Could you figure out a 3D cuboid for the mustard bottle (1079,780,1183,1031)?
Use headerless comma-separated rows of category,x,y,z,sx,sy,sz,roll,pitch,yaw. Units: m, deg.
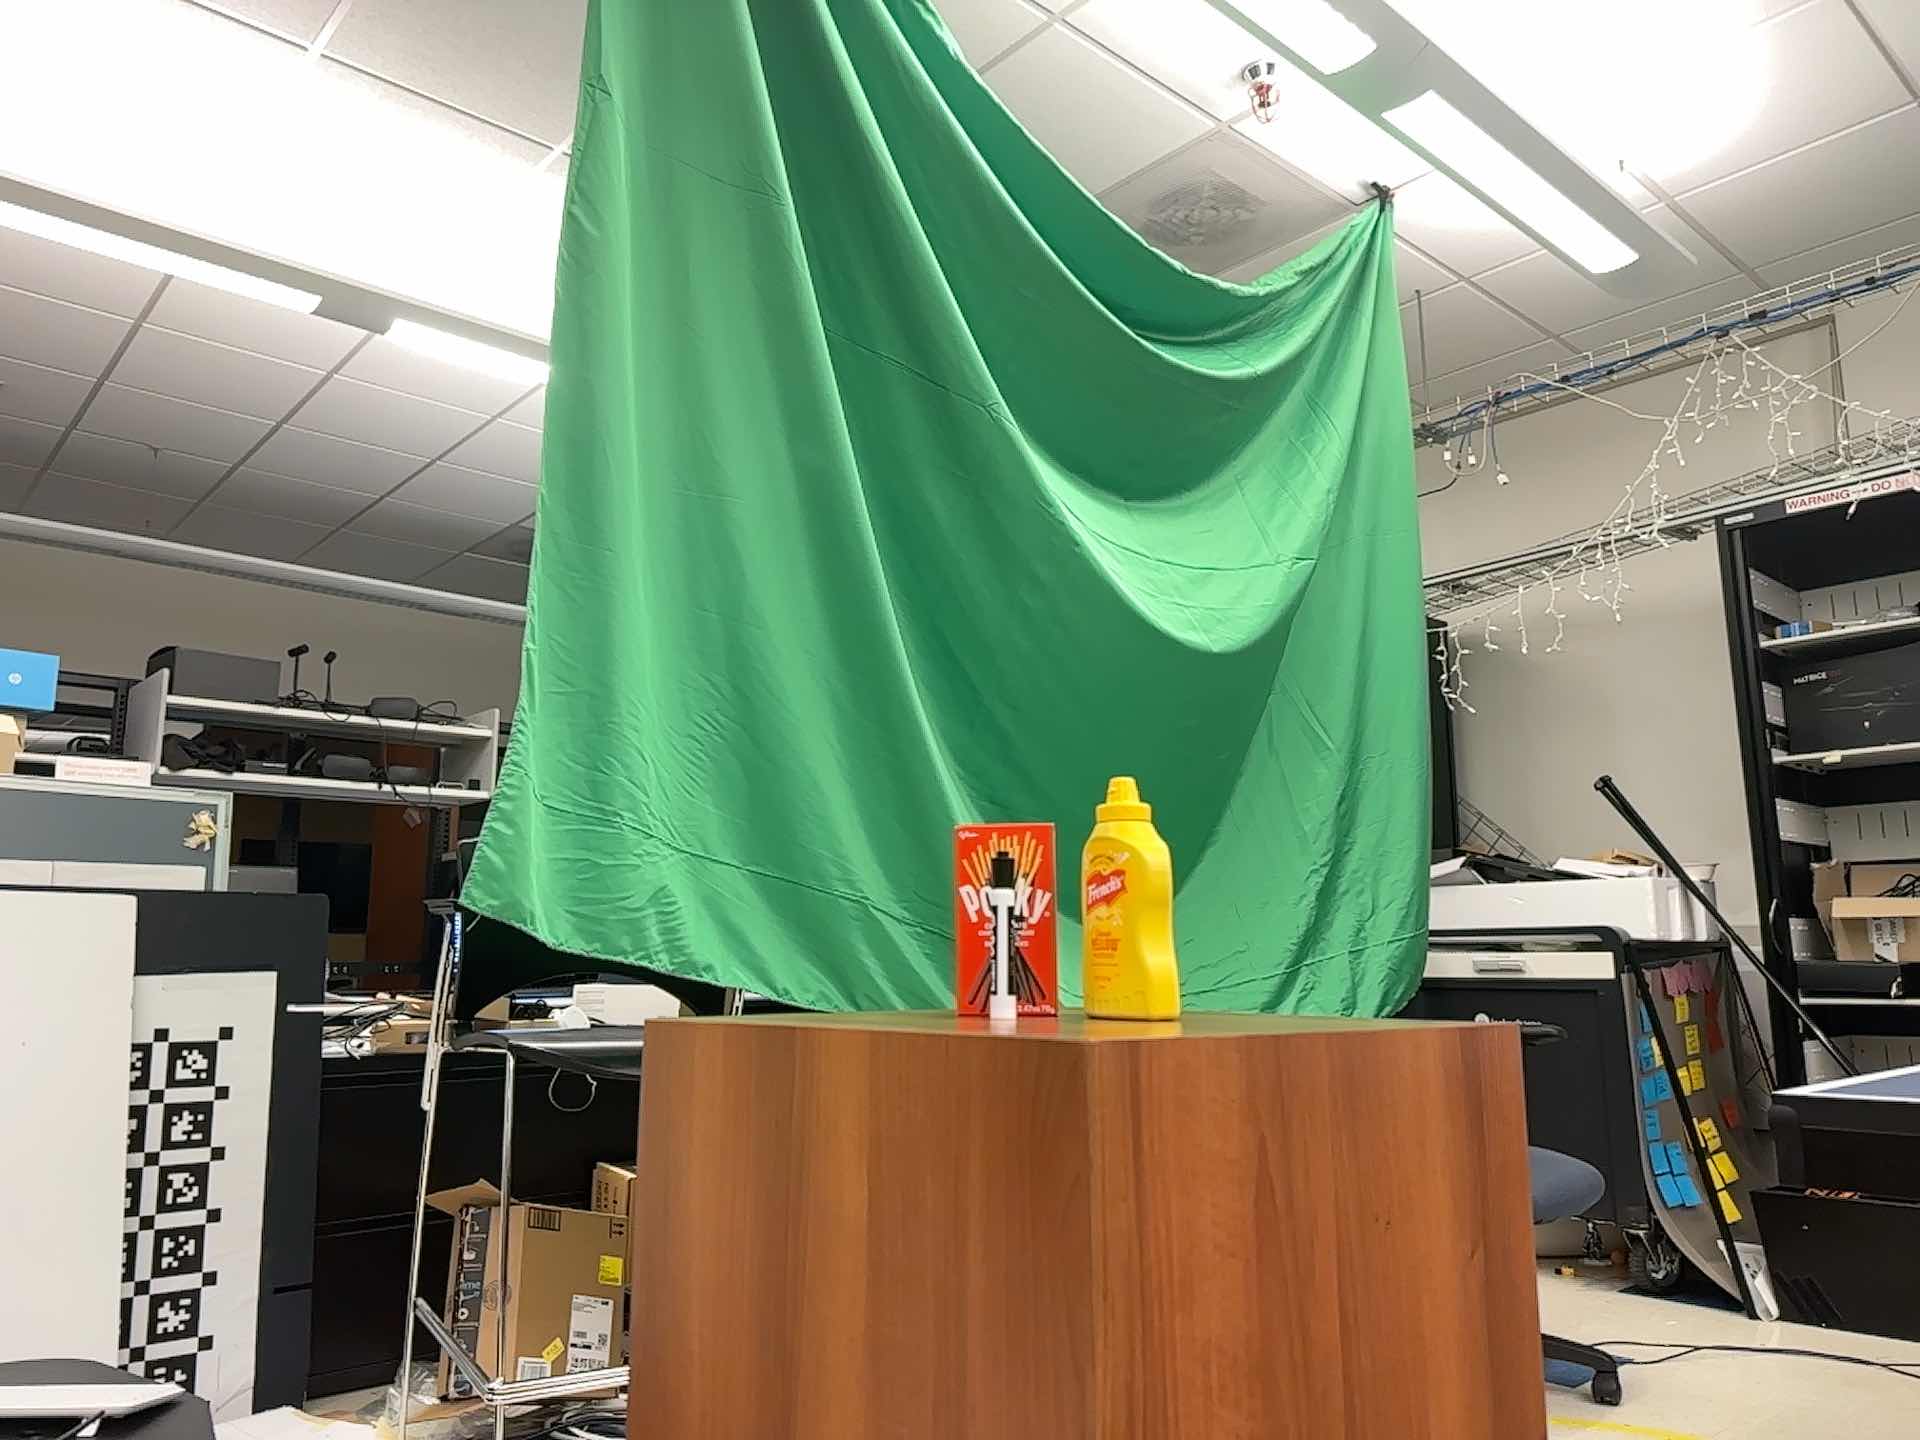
mustard bottle,0.124,0.136,1.007,0.054,0.184,0.092,1,-9,-22

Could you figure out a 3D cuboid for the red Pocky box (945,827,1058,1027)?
red Pocky box,0.032,0.163,1.067,0.083,0.155,0.028,-4,-8,12

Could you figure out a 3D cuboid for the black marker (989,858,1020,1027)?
black marker,0.032,0.162,0.988,0.020,0.121,0.020,2,-10,0
